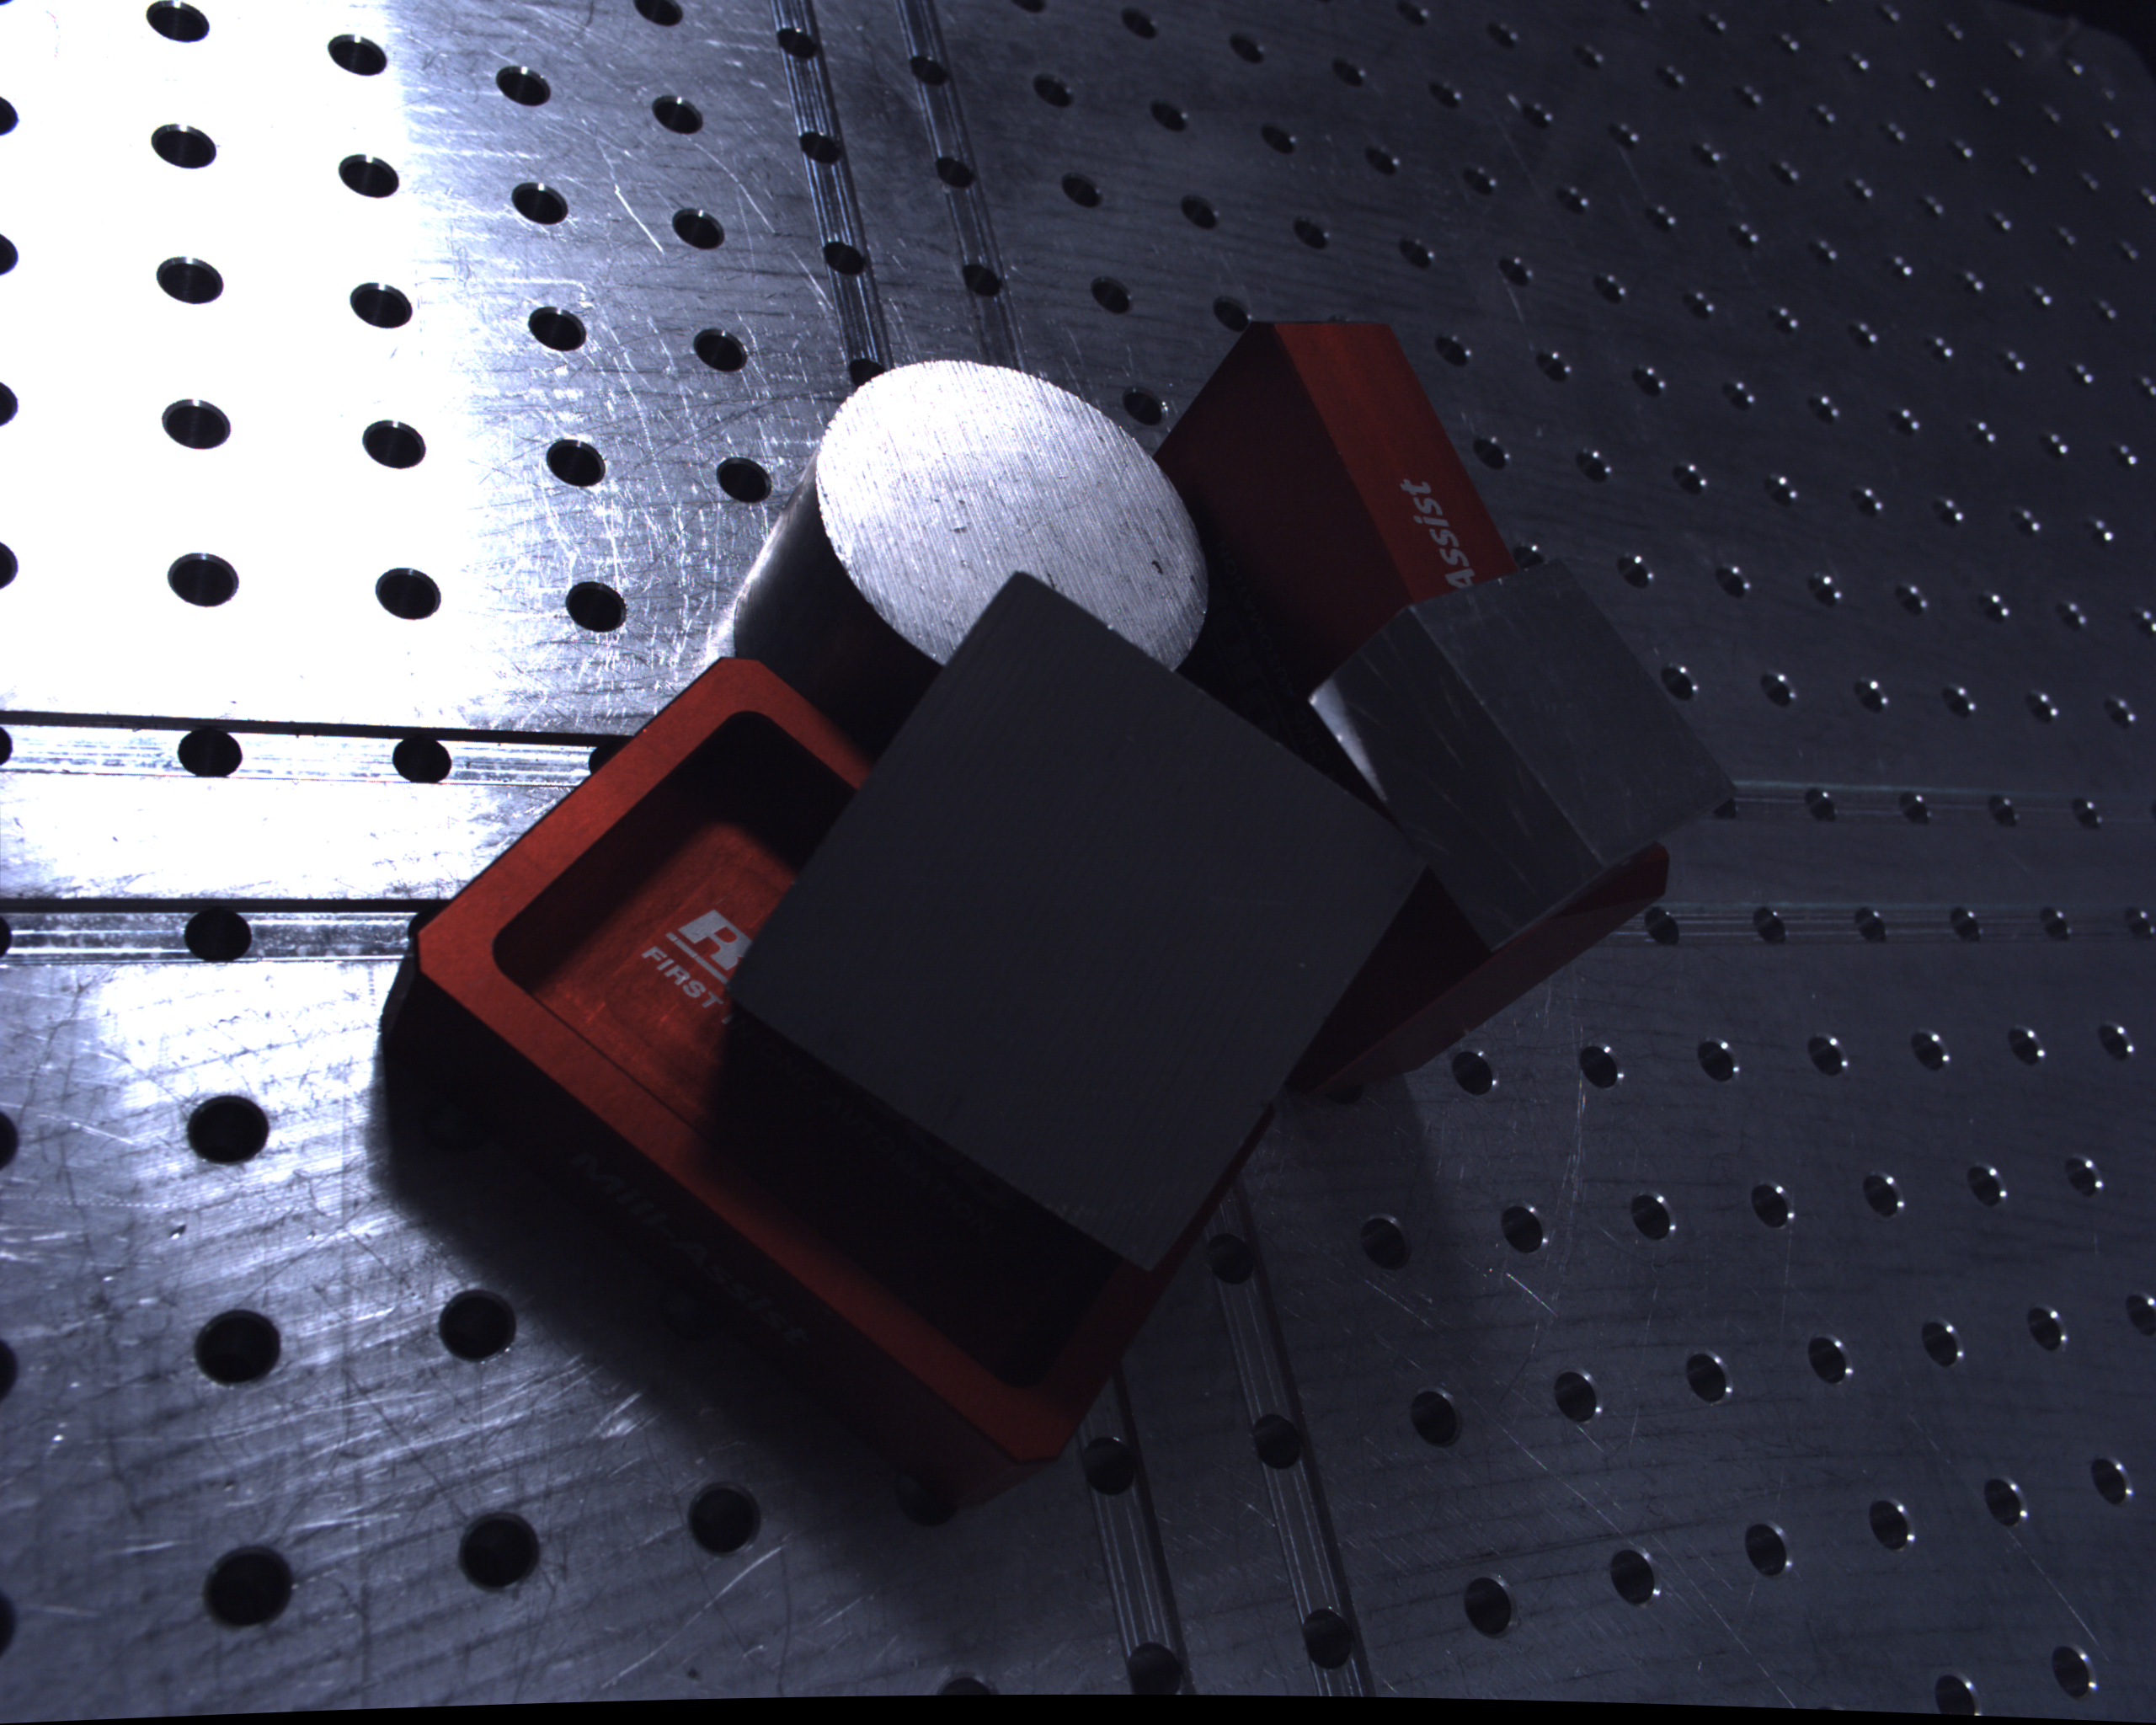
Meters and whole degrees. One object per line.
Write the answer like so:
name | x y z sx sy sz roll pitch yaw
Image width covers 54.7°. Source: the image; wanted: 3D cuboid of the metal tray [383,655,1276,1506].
metal tray | -0.040 0.035 0.362 0.130 0.030 0.090 40 51 -1

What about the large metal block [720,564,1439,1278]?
large metal block | -0.002 0.009 0.347 0.080 0.050 0.080 35 87 -6

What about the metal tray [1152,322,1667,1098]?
metal tray | 0.051 -0.030 0.414 0.030 0.090 0.130 -10 67 -33

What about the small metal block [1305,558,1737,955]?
small metal block | 0.073 -0.019 0.340 0.050 0.025 0.050 -22 74 -48

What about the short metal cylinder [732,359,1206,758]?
short metal cylinder | -0.022 -0.052 0.413 0.081 0.050 0.080 14 56 -21
